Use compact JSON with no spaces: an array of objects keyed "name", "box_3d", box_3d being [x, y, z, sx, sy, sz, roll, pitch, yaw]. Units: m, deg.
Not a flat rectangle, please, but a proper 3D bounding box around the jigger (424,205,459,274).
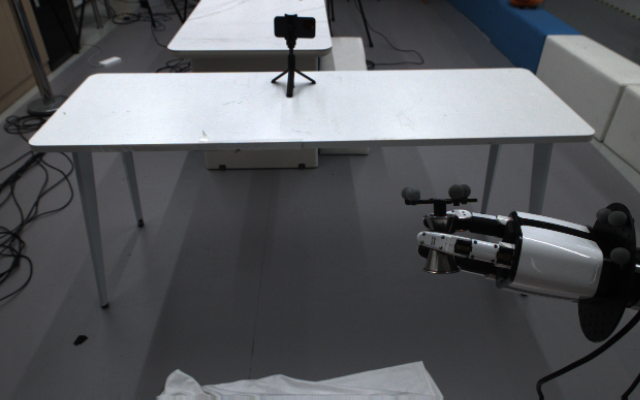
[{"name":"jigger","box_3d":[0.146,0.052,0.589,0.043,0.071,0.043,-2,3,0]}]
